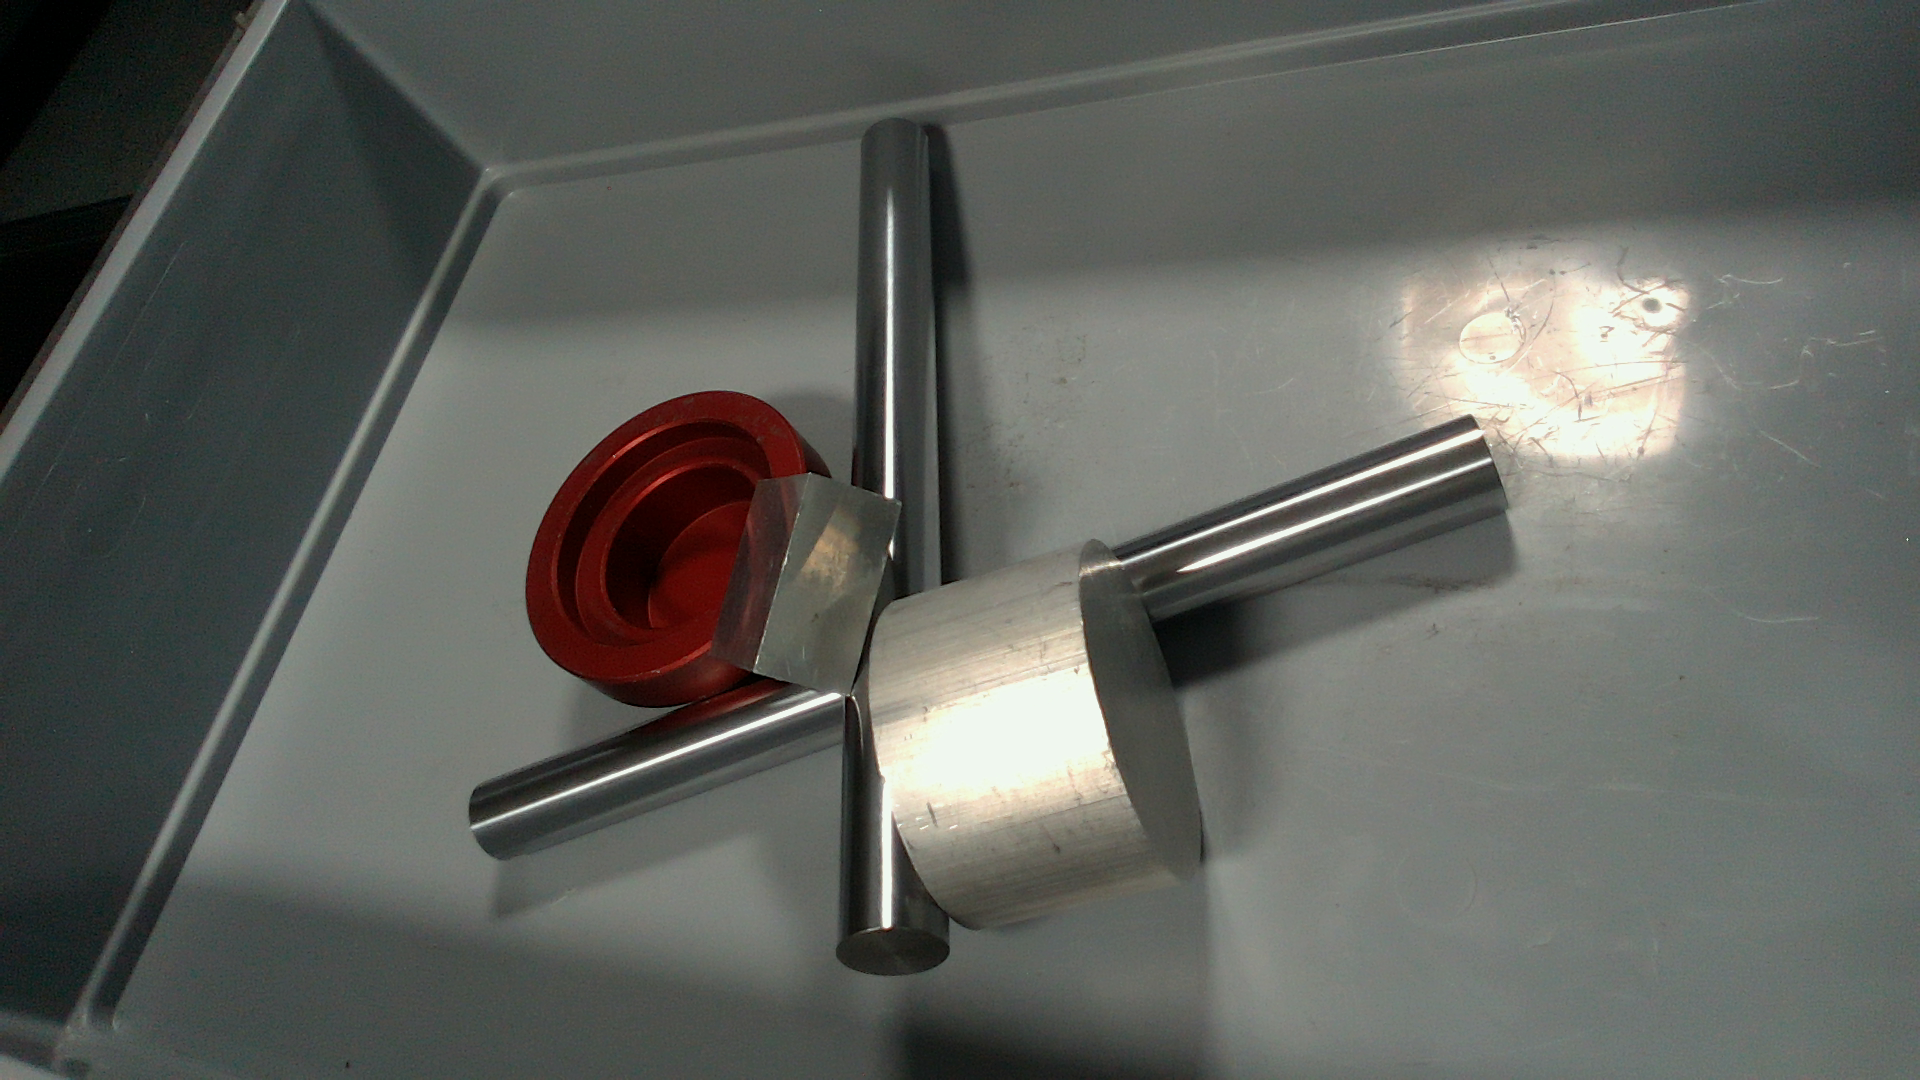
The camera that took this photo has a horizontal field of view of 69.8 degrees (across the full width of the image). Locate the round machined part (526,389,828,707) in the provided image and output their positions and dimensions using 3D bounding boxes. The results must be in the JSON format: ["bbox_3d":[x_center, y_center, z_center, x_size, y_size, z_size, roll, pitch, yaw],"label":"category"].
[{"bbox_3d":[-0.080,0.006,0.422,0.098,0.042,0.098,-13,56,21],"label":"round machined part"}]

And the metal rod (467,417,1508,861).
[{"bbox_3d":[-0.006,0.033,0.375,0.299,0.025,0.025,-21,54,16],"label":"metal rod"}]

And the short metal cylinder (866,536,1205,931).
[{"bbox_3d":[0.019,0.045,0.319,0.050,0.080,0.080,-18,54,18],"label":"short metal cylinder"}]

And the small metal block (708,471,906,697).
[{"bbox_3d":[-0.041,0.011,0.355,0.050,0.025,0.050,1,75,67],"label":"small metal block"}]

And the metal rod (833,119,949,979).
[{"bbox_3d":[-0.019,-0.025,0.395,0.025,0.025,0.300,-18,47,18],"label":"metal rod"}]
